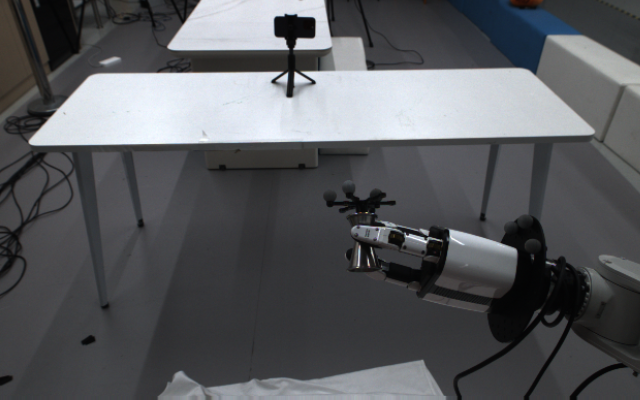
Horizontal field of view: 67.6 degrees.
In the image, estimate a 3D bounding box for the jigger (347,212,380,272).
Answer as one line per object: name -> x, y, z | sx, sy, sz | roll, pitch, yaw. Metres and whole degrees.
jigger -> 0.054, 0.051, 0.598 | 0.043, 0.043, 0.071 | 0, 75, -3
